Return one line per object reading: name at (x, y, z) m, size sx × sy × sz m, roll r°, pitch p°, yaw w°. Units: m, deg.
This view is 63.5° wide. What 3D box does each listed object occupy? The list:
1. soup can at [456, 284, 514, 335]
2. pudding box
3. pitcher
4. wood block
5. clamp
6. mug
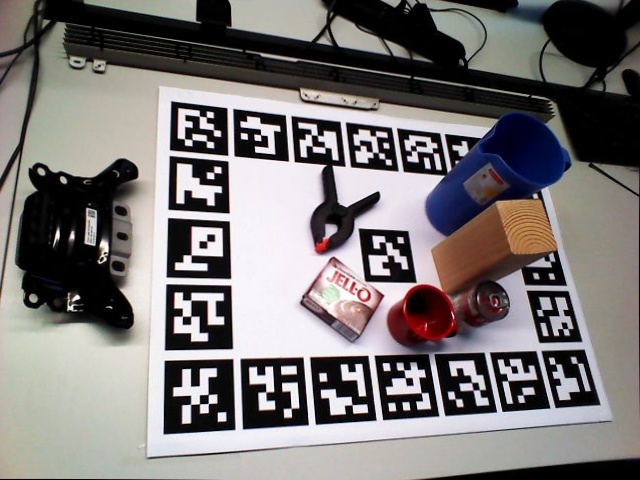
soup can at (0.269, 0.119, 0.871) m, size 0.068 × 0.102 × 0.067 m, roll 6°, pitch 68°, yaw -16°
pudding box at (0.033, 0.094, 0.842) m, size 0.114 × 0.039 × 0.089 m, roll 37°, pitch 64°, yaw 0°
pitcher at (0.316, -0.098, 0.902) m, size 0.188 × 0.244 × 0.132 m, roll 2°, pitch 65°, yaw -15°
wood block at (0.296, 0.018, 0.863) m, size 0.089 × 0.208 × 0.090 m, roll 2°, pitch 67°, yaw -22°
clamp at (0.041, -0.051, 0.913) m, size 0.122 × 0.037 × 0.164 m, roll 33°, pitch 62°, yaw -11°
mug at (0.179, 0.137, 0.845) m, size 0.117 × 0.082 × 0.092 m, roll 36°, pitch 59°, yaw 0°
